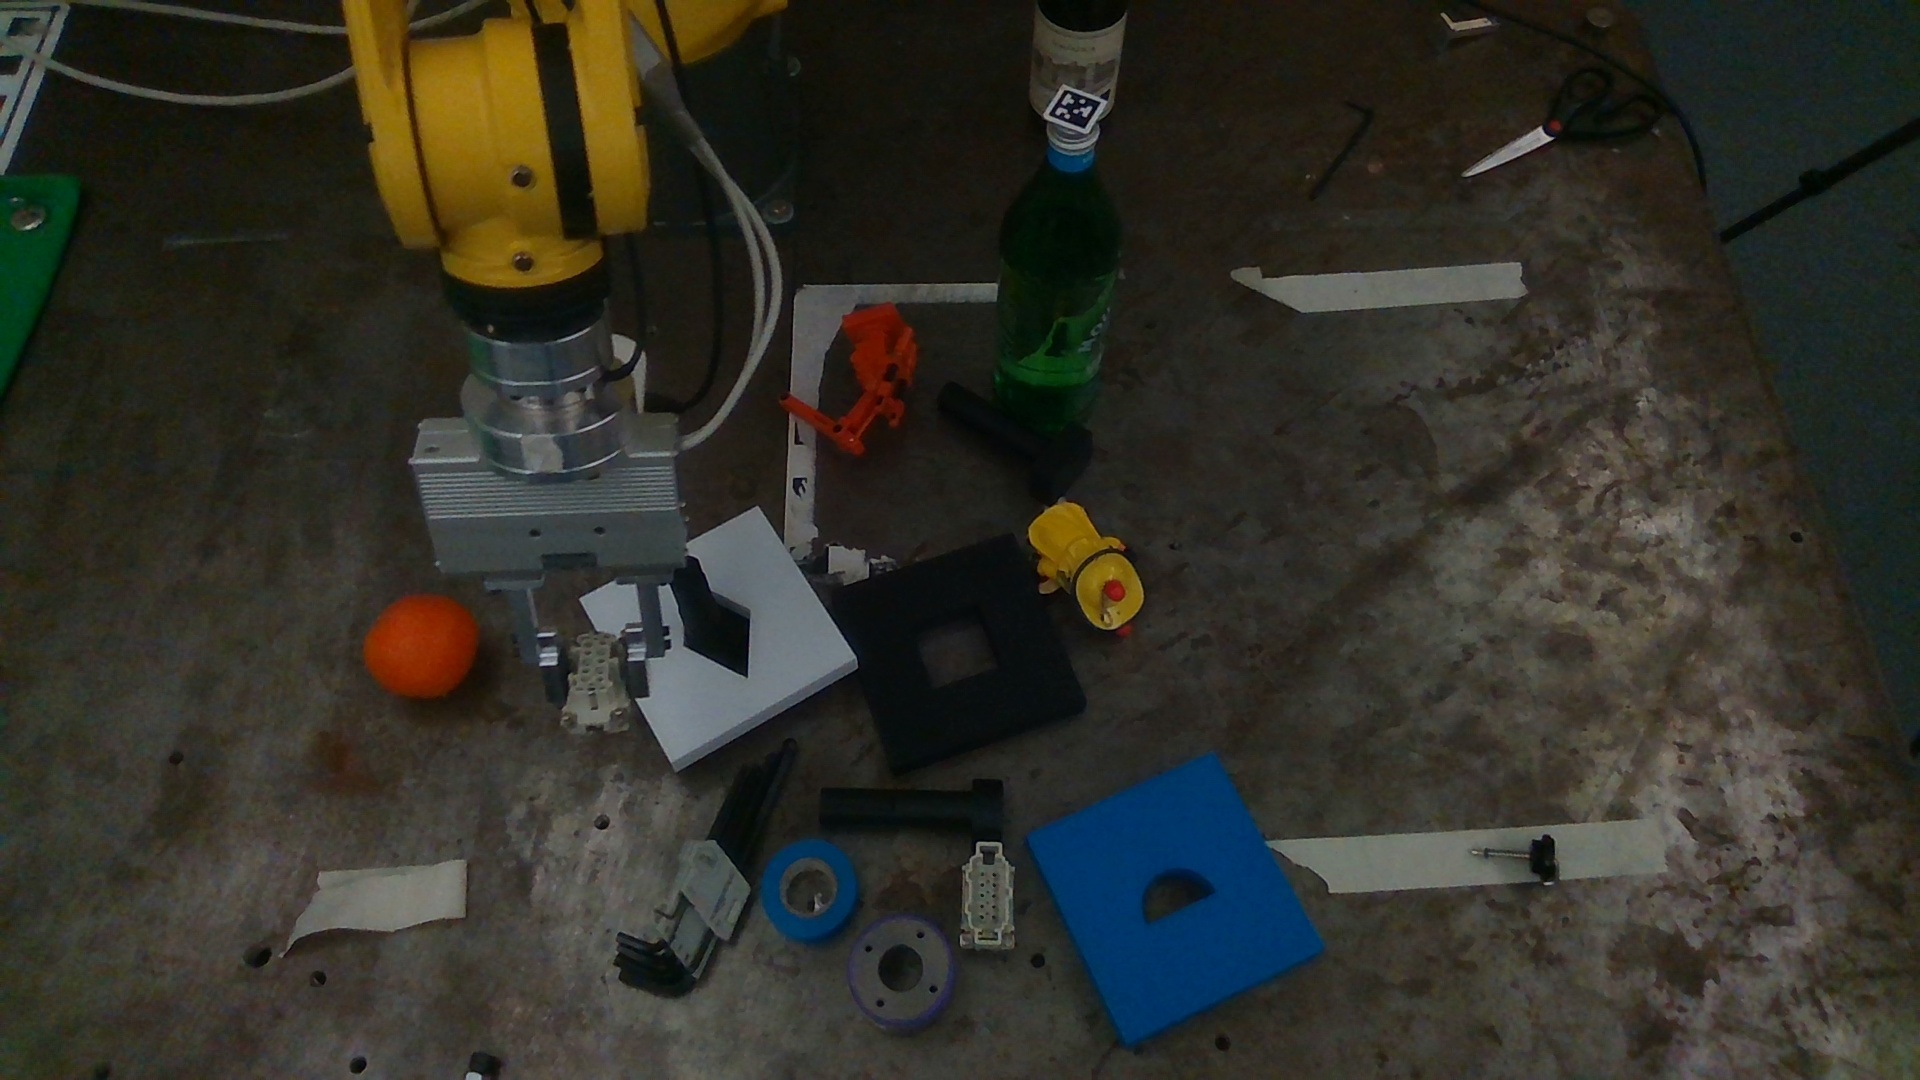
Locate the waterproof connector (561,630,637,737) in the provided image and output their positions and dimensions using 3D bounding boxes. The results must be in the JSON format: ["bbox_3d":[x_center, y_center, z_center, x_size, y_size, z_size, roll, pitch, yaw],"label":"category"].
[{"bbox_3d":[-0.209,0.082,0.801,0.037,0.038,0.069,-8,39,-3],"label":"waterproof connector"}]
